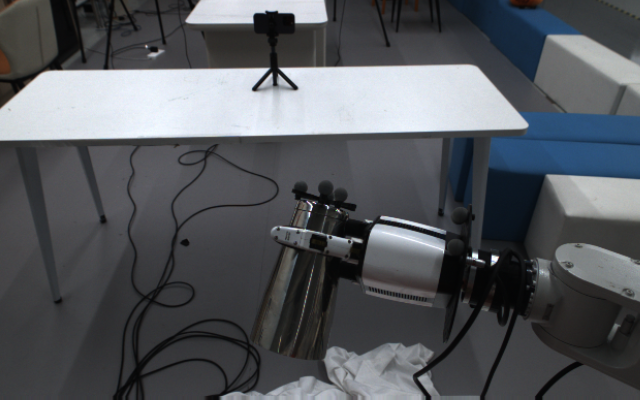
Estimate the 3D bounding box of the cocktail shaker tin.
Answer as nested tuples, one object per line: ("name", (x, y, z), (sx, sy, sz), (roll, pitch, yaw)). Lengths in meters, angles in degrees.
("cocktail shaker tin", (-0.015, 0.089, 0.579), (0.093, 0.170, 0.093), (15, -5, 1))
